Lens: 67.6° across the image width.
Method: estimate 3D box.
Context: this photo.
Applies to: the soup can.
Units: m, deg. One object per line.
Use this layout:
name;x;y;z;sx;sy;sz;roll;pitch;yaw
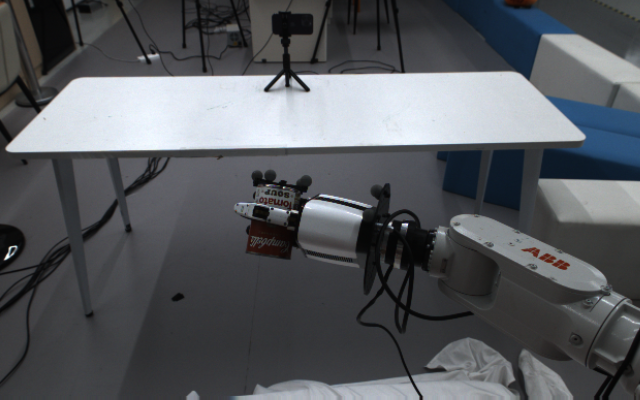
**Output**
soup can;-0.068;0.033;0.709;0.067;0.101;0.067;9;-6;1
